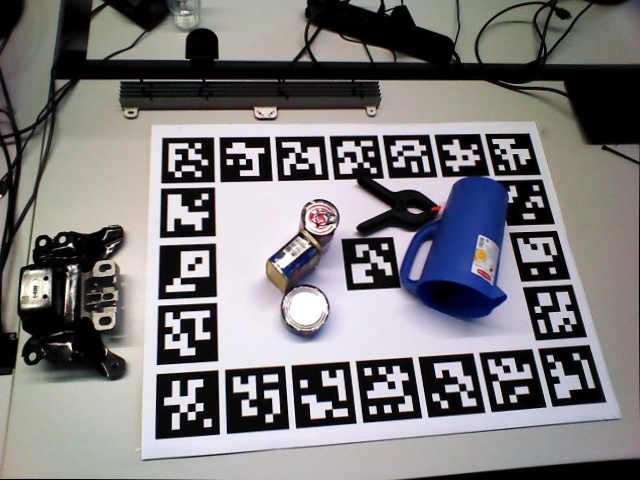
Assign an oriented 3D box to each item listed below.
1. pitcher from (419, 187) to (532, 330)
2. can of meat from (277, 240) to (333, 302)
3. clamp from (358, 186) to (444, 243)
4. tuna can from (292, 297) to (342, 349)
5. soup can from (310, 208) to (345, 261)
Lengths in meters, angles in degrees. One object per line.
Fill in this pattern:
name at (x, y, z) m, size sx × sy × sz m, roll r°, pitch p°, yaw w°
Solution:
pitcher at (0.288, 0.027, 0.925) m, size 0.190 × 0.133 × 0.241 m, roll 9°, pitch 58°, yaw 21°
can of meat at (-0.027, 0.057, 0.893) m, size 0.083 × 0.102 × 0.058 m, roll -38°, pitch 78°, yaw -15°
clamp at (0.160, -0.049, 1.007) m, size 0.165 × 0.037 × 0.121 m, roll 1°, pitch 64°, yaw -10°
tuna can at (-0.006, 0.145, 0.901) m, size 0.086 × 0.034 × 0.085 m, roll 2°, pitch 70°, yaw -6°
soup can at (0.014, -0.006, 0.928) m, size 0.068 × 0.102 × 0.067 m, roll 1°, pitch 70°, yaw -4°
